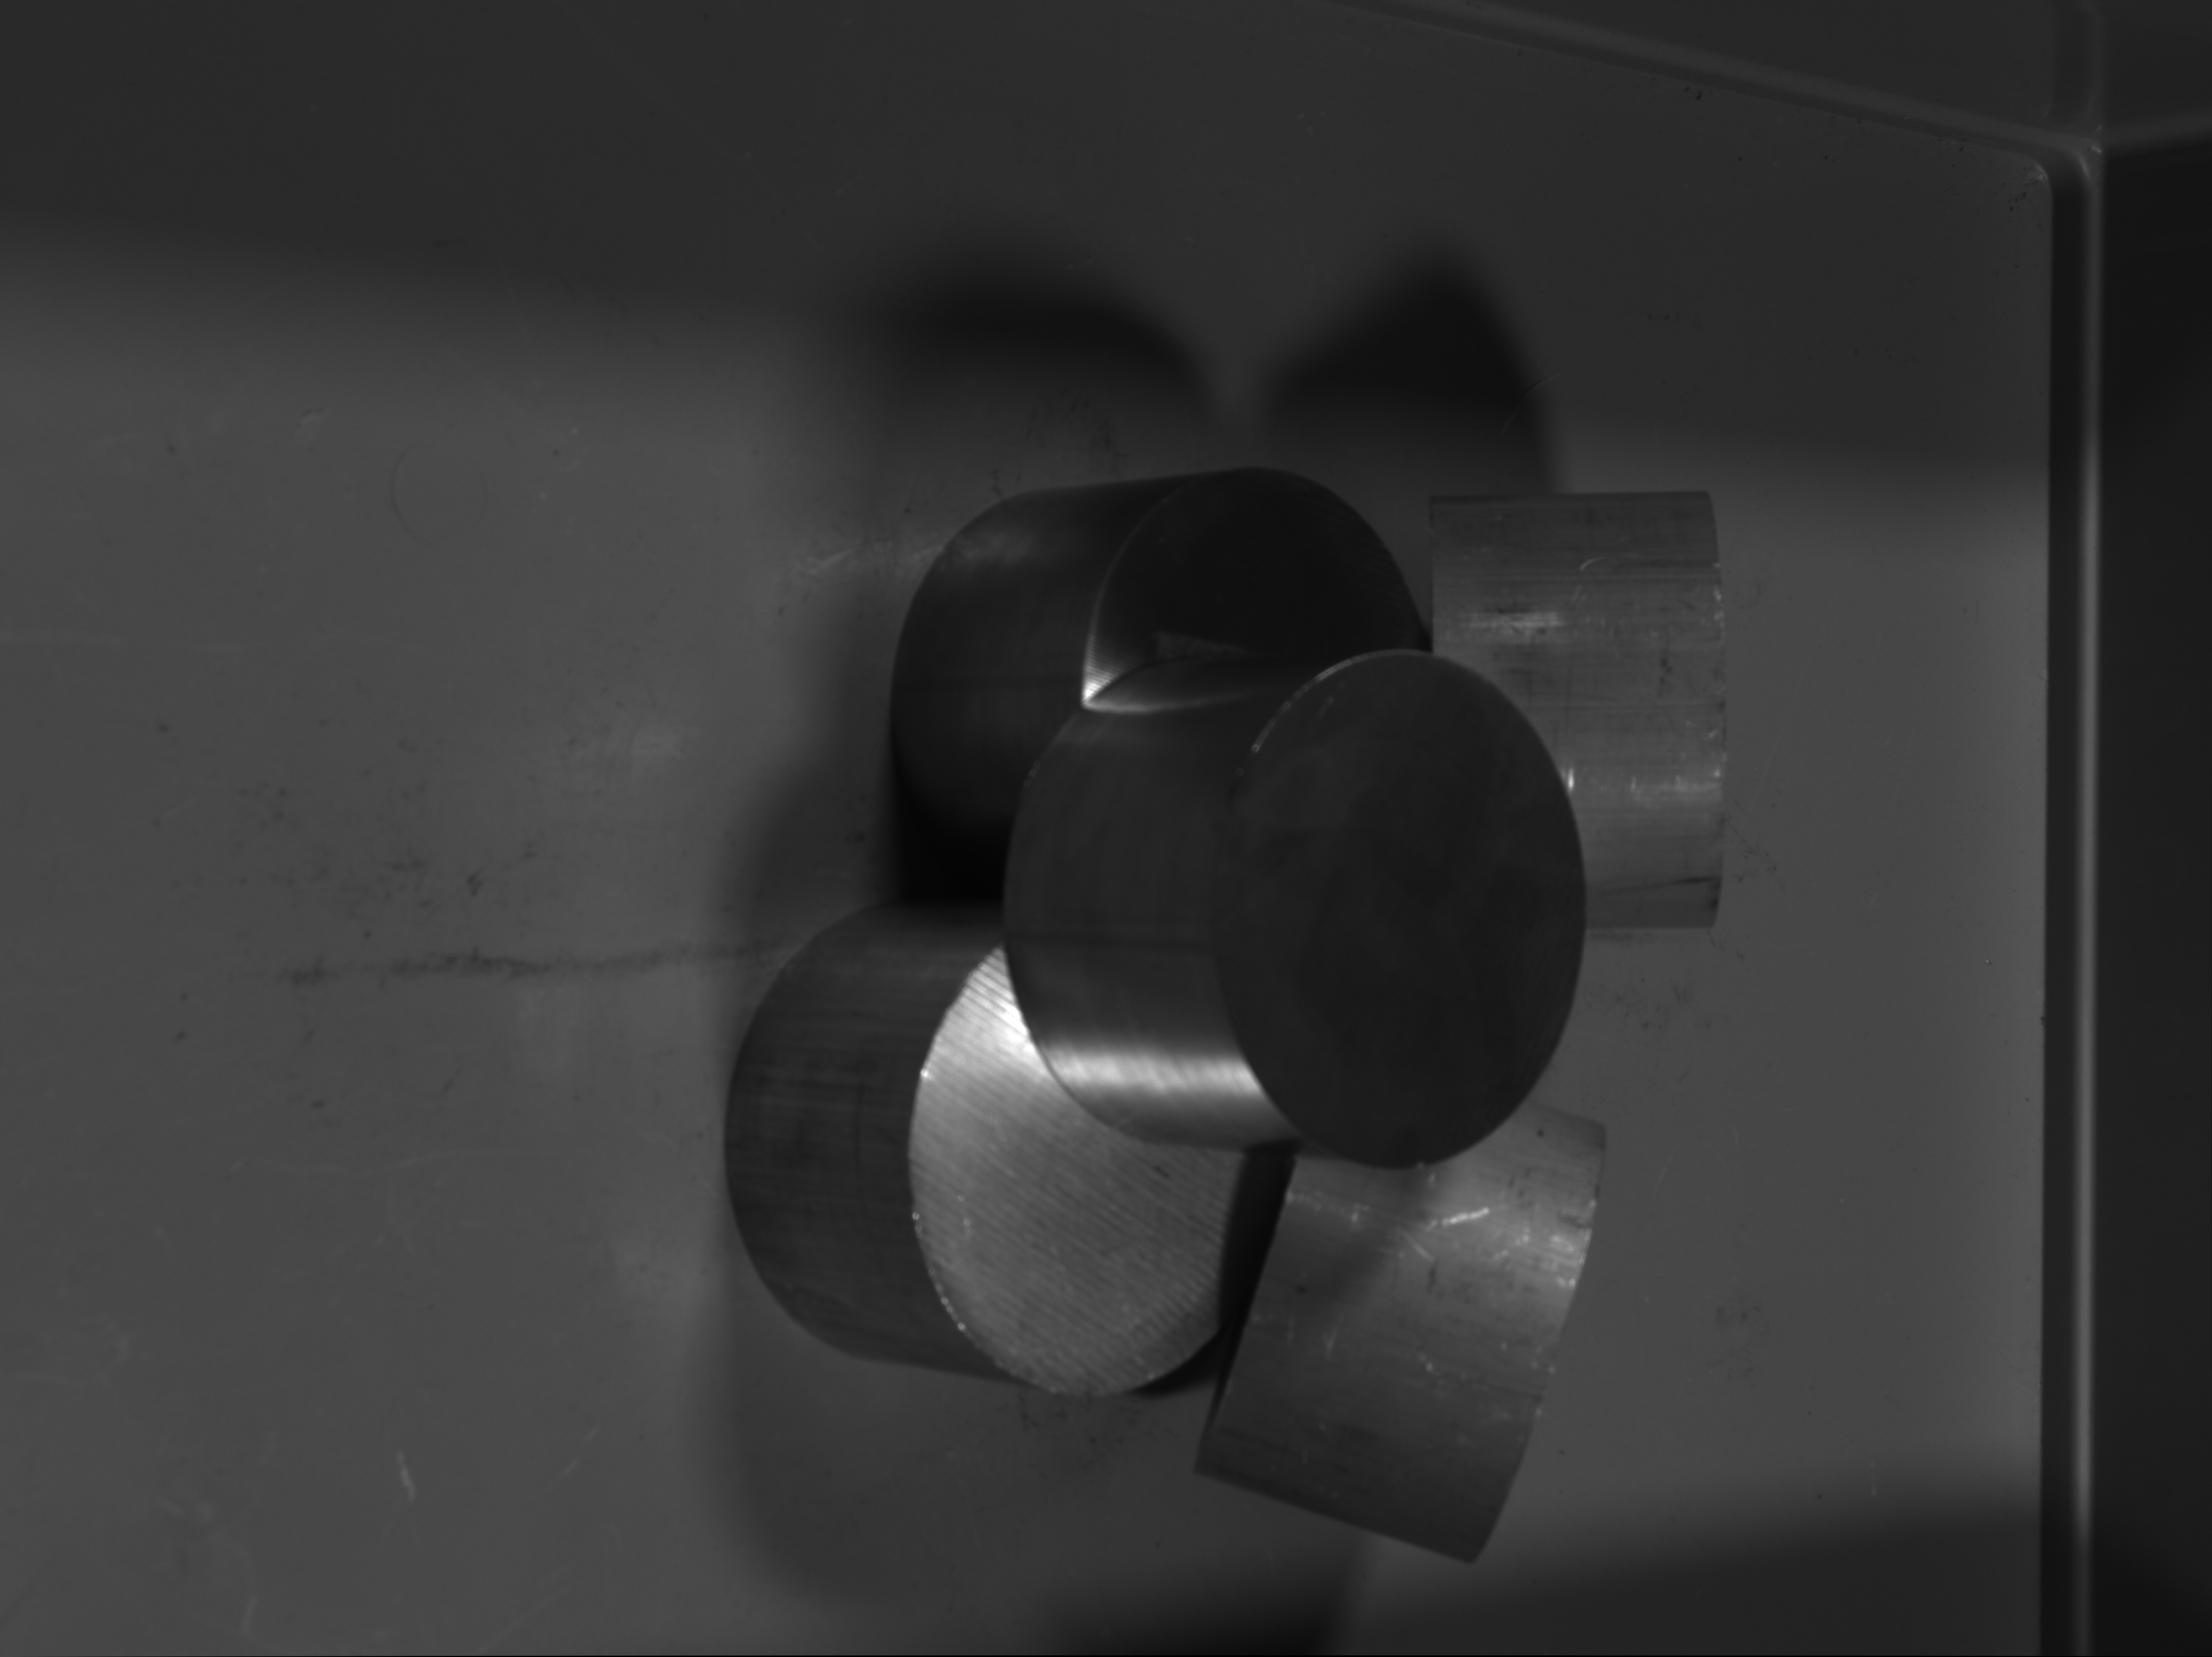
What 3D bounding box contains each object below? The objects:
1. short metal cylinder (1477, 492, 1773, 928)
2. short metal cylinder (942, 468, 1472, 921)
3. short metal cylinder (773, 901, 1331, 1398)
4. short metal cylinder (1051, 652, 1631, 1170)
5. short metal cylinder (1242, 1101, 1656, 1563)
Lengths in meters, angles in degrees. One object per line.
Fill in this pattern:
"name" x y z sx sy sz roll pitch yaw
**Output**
"short metal cylinder" 0.094 -0.021 0.671 0.080 0.050 0.080 -1 90 -84
"short metal cylinder" 0.019 -0.020 0.635 0.080 0.050 0.080 0 90 -40
"short metal cylinder" -0.008 0.052 0.613 0.080 0.050 0.080 0 90 -40
"short metal cylinder" 0.038 0.013 0.585 0.080 0.050 0.080 0 90 -40
"short metal cylinder" 0.059 0.082 0.641 0.050 0.080 0.080 18 75 3
